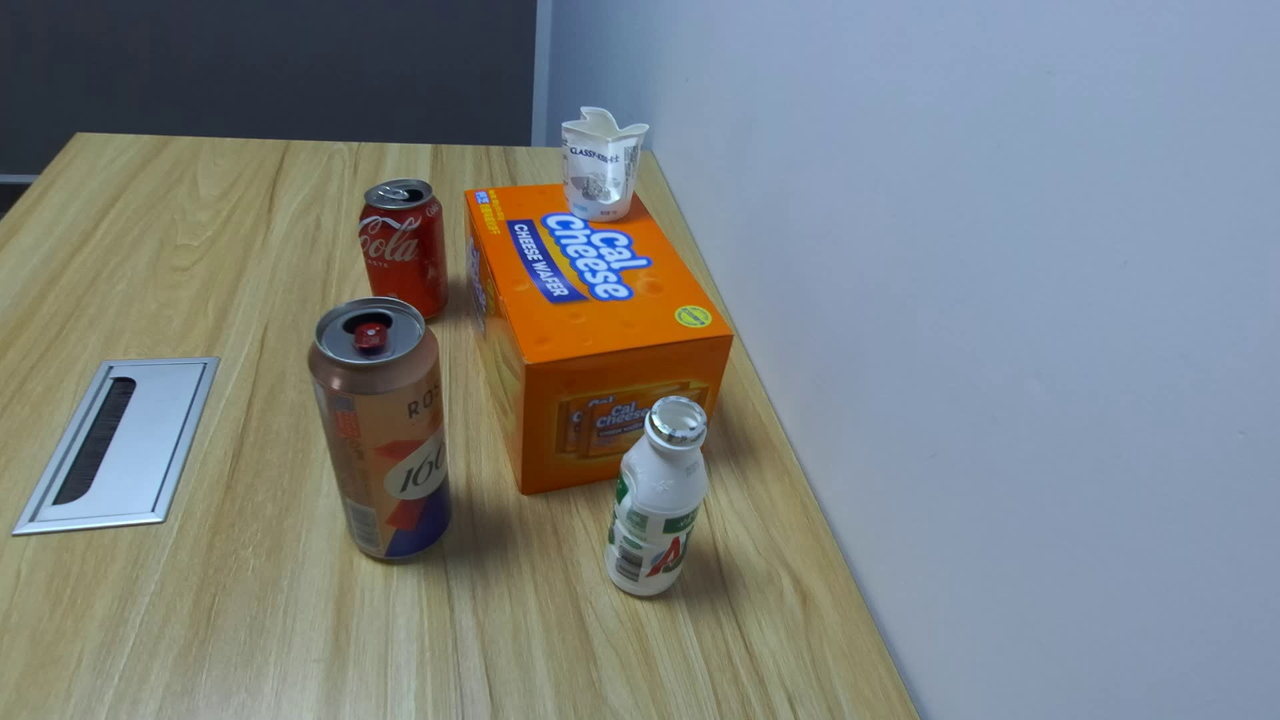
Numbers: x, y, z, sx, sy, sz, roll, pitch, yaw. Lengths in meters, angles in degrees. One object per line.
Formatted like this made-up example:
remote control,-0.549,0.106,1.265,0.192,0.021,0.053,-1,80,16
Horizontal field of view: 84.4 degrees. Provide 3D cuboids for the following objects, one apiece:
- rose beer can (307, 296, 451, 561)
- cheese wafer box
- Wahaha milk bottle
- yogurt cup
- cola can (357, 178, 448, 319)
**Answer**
rose beer can,-0.150,0.047,0.421,0.069,0.169,0.068,5,40,-4
cheese wafer box,-0.045,-0.029,0.560,0.149,0.129,0.221,-9,44,-19
Wahaha milk bottle,0.010,0.087,0.426,0.053,0.136,0.053,6,42,-5
yogurt cup,-0.029,-0.152,0.552,0.054,0.072,0.055,24,44,17
cola can,-0.202,-0.094,0.613,0.065,0.117,0.072,29,44,17
